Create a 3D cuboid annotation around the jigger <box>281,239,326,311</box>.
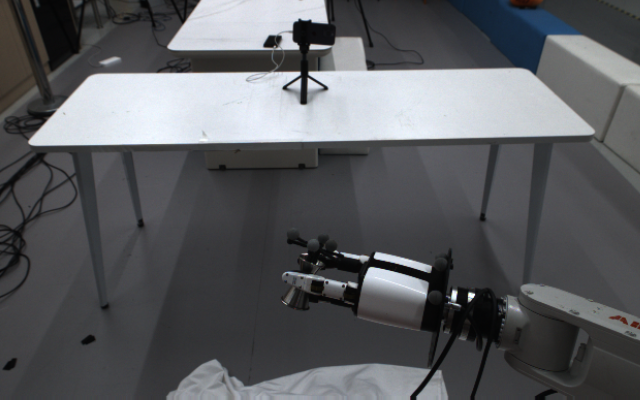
[{"bbox_3d":[-0.024,0.114,0.677,0.043,0.071,0.043,21,5,-2],"label":"jigger"}]
